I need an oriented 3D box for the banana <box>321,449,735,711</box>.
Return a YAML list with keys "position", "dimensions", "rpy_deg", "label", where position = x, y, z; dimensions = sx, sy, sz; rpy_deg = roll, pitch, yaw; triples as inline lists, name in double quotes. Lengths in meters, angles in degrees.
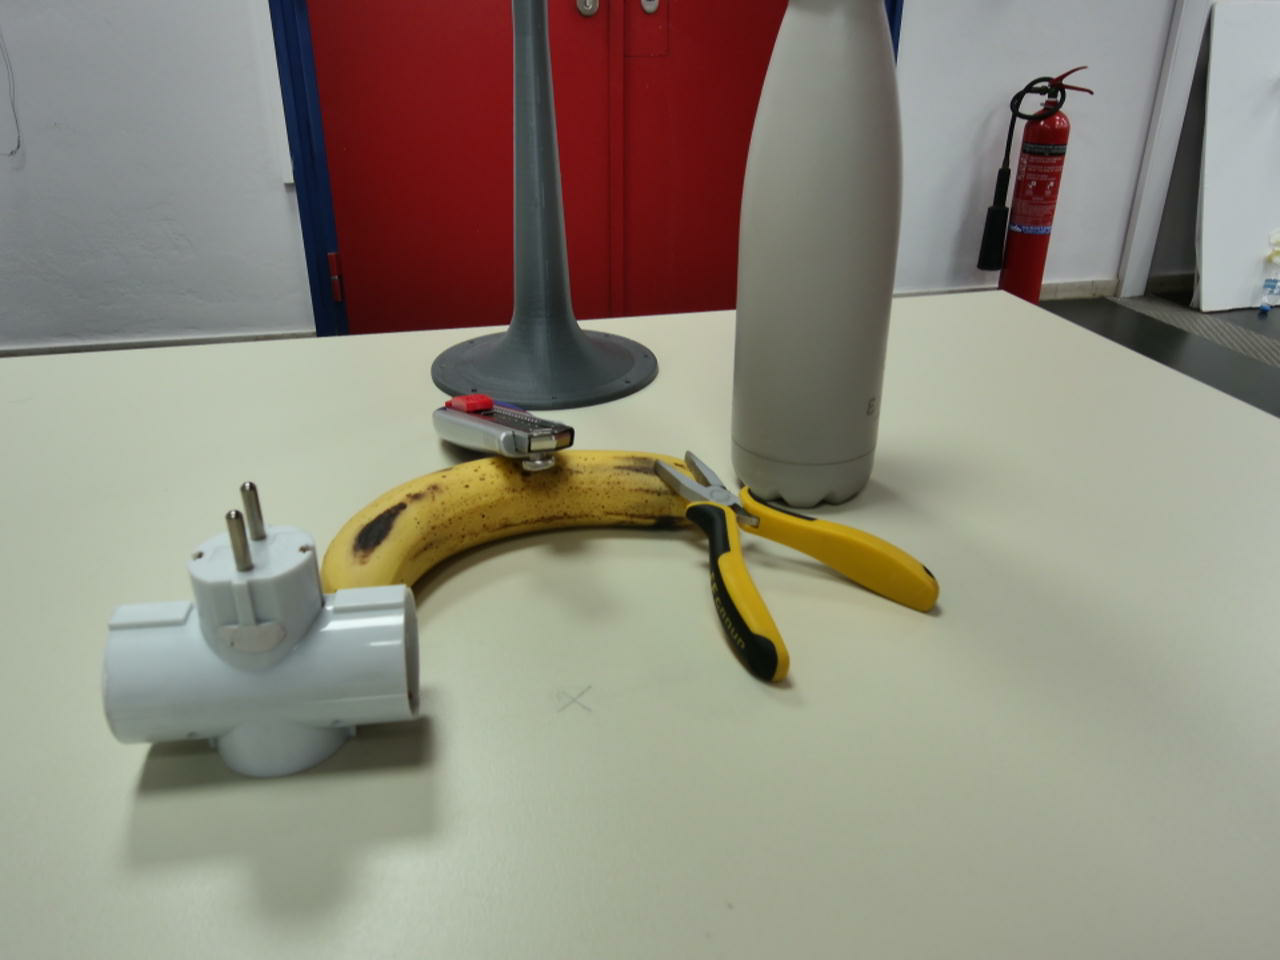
- position: [-0.054, 0.020, 0.432]
  dimensions: [0.186, 0.038, 0.097]
  rpy_deg: [-20, 31, -37]
  label: "banana"
